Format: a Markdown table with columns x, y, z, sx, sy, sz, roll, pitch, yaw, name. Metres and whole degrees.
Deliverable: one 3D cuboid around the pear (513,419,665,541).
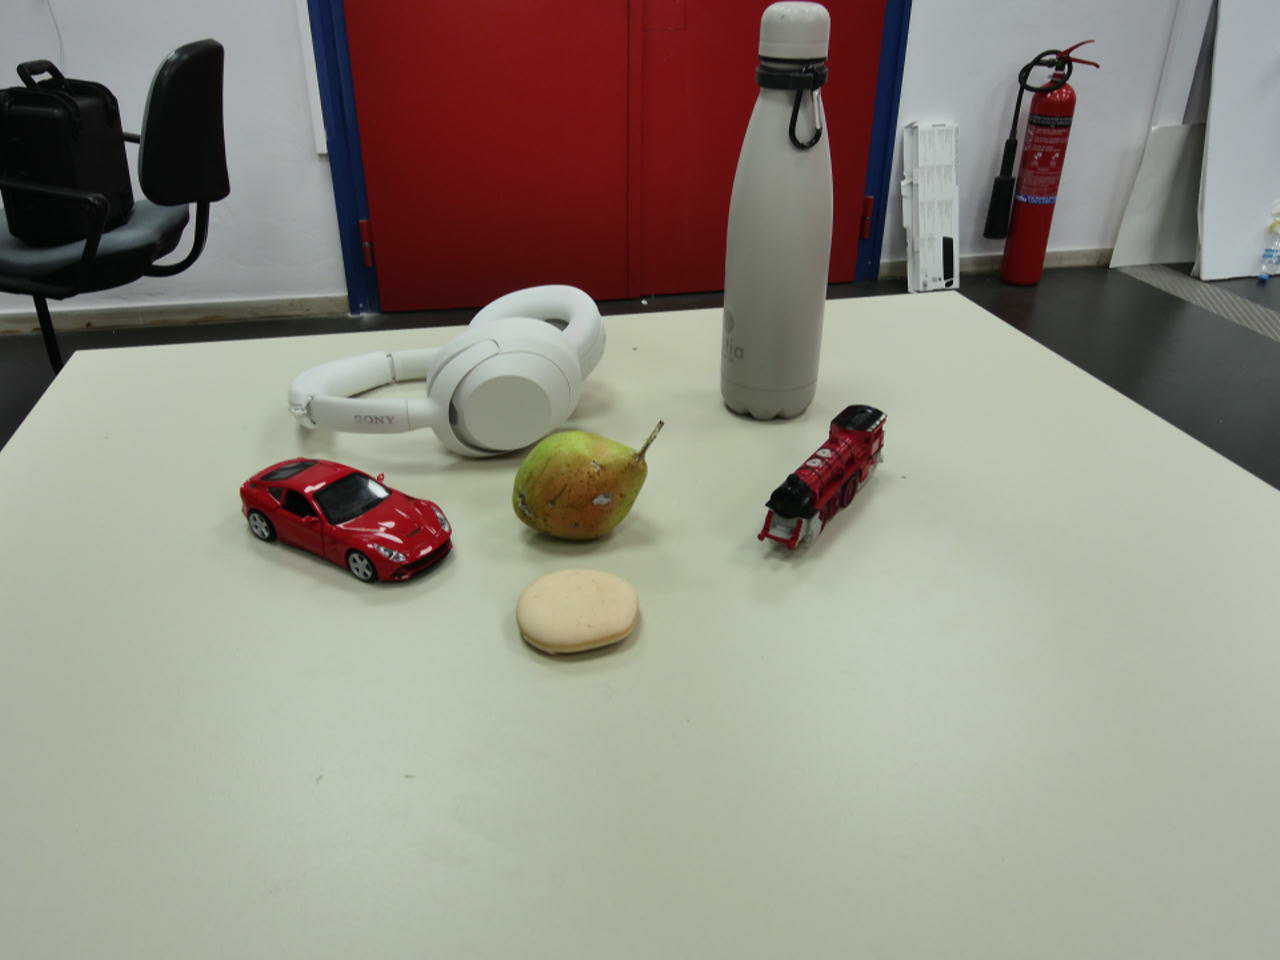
| x | y | z | sx | sy | sz | roll | pitch | yaw | name |
| --- | --- | --- | --- | --- | --- | --- | --- | --- | --- |
| -0.034 | 0.000 | 0.570 | 0.070 | 0.069 | 0.068 | 19 | 33 | 34 | pear |
